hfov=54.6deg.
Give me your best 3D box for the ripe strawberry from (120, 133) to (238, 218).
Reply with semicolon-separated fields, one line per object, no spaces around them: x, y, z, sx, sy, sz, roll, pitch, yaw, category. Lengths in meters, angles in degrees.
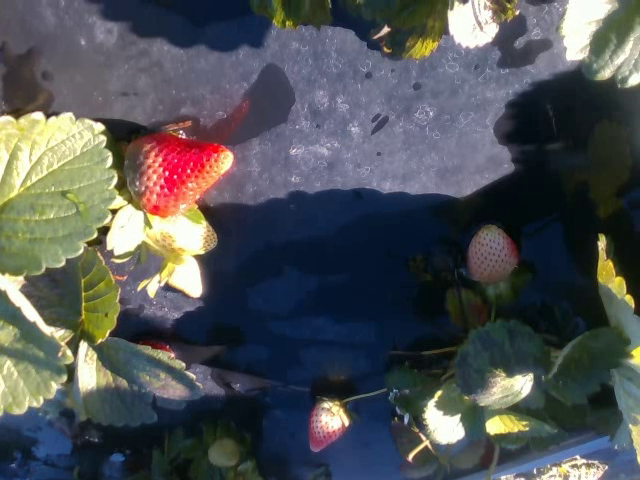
-0.066;-0.036;0.299;0.064;0.052;0.049;-17;-16;25;ripe strawberry
